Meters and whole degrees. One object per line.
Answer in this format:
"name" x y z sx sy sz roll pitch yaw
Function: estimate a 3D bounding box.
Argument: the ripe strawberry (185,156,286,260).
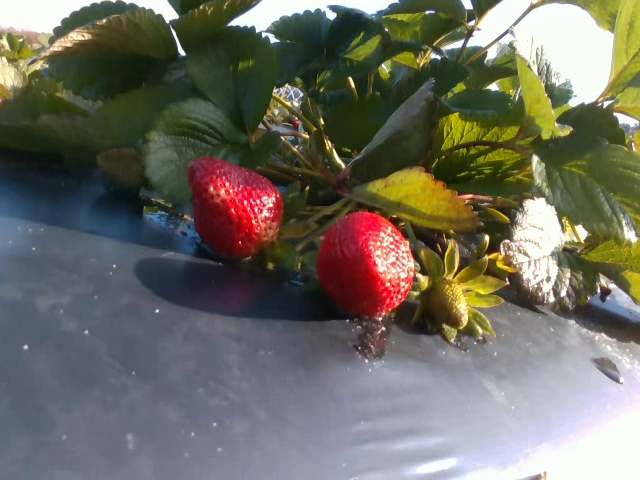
"ripe strawberry" -0.037 -0.015 0.259 0.039 0.048 0.054 -32 -52 25

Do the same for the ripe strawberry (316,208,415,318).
"ripe strawberry" 0.018 0.006 0.221 0.043 0.038 0.053 35 -2 1
